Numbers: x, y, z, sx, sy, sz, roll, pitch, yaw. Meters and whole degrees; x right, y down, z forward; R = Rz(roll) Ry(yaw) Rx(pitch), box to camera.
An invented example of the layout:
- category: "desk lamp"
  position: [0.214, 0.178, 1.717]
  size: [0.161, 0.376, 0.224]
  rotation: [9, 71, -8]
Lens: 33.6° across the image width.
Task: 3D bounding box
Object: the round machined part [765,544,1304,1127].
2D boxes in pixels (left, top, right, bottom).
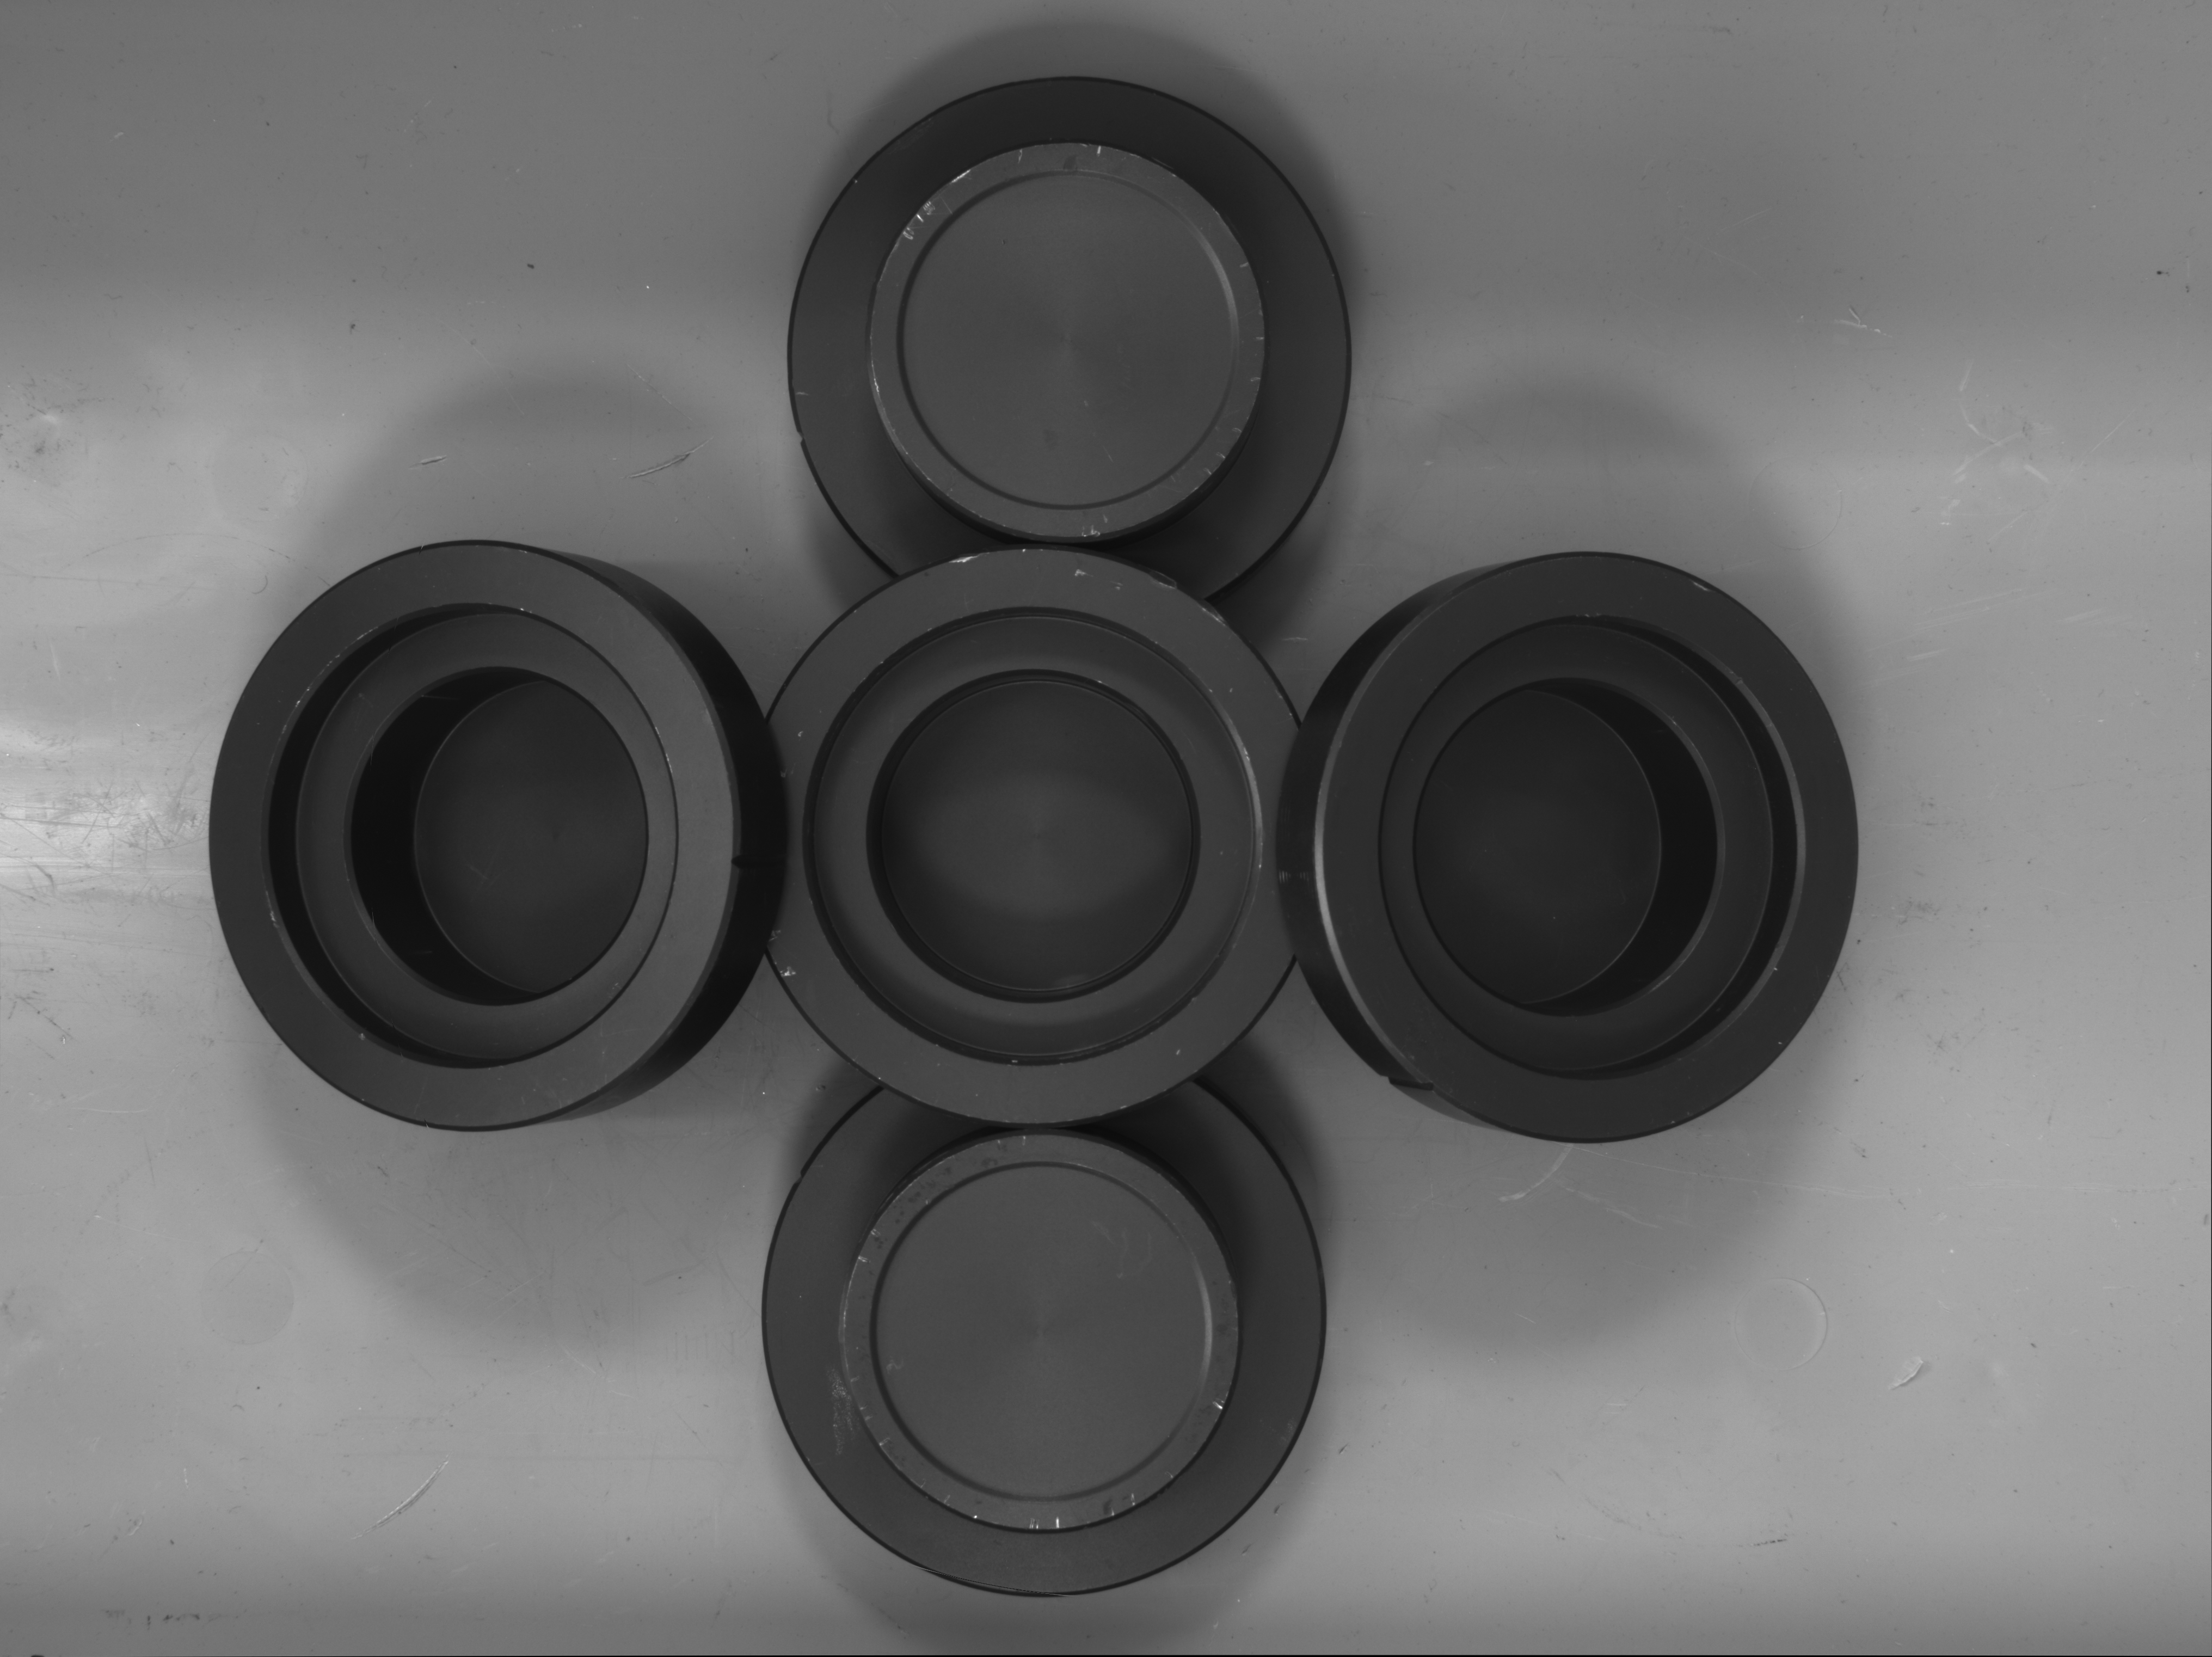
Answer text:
- category: "round machined part"
  position: [-0.012, 0.001, 0.635]
  size: [0.098, 0.042, 0.098]
  rotation: [0, 90, 0]

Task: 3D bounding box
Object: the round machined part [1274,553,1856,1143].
- category: "round machined part"
  position: [0.075, 0.003, 0.627]
  size: [0.098, 0.042, 0.098]
  rotation: [0, 90, -16]

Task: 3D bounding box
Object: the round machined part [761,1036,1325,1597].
- category: "round machined part"
  position: [-0.011, 0.084, 0.635]
  size: [0.098, 0.042, 0.098]
  rotation: [0, 90, 0]

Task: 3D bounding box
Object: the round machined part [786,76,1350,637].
- category: "round machined part"
  position: [-0.007, -0.082, 0.635]
  size: [0.098, 0.042, 0.098]
  rotation: [0, 90, 0]

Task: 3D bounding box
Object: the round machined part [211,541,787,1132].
- category: "round machined part"
  position: [-0.099, 0.001, 0.627]
  size: [0.098, 0.042, 0.098]
  rotation: [0, 90, 17]
